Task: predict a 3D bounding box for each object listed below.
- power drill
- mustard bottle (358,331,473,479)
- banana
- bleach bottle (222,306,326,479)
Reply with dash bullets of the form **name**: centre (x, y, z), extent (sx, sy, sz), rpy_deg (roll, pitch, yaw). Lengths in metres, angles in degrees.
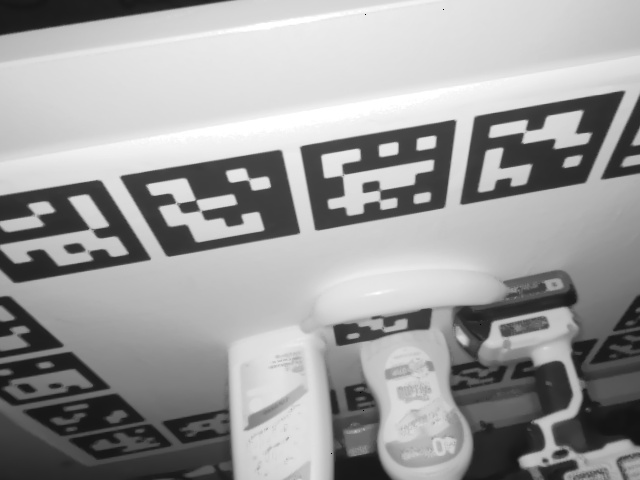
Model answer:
- **power drill**: centre (0.196, 0.149, 0.622), extent (0.185, 0.188, 0.057), rpy_deg (-8, 149, 1)
- **mustard bottle**: centre (0.097, 0.185, 0.676), extent (0.096, 0.192, 0.058), rpy_deg (-7, 143, -2)
- **banana**: centre (0.074, 0.041, 0.608), extent (0.198, 0.039, 0.073), rpy_deg (-8, 138, -7)
- **bleach bottle**: centre (-0.033, 0.185, 0.610), extent (0.102, 0.252, 0.067), rpy_deg (-13, 141, 4)
